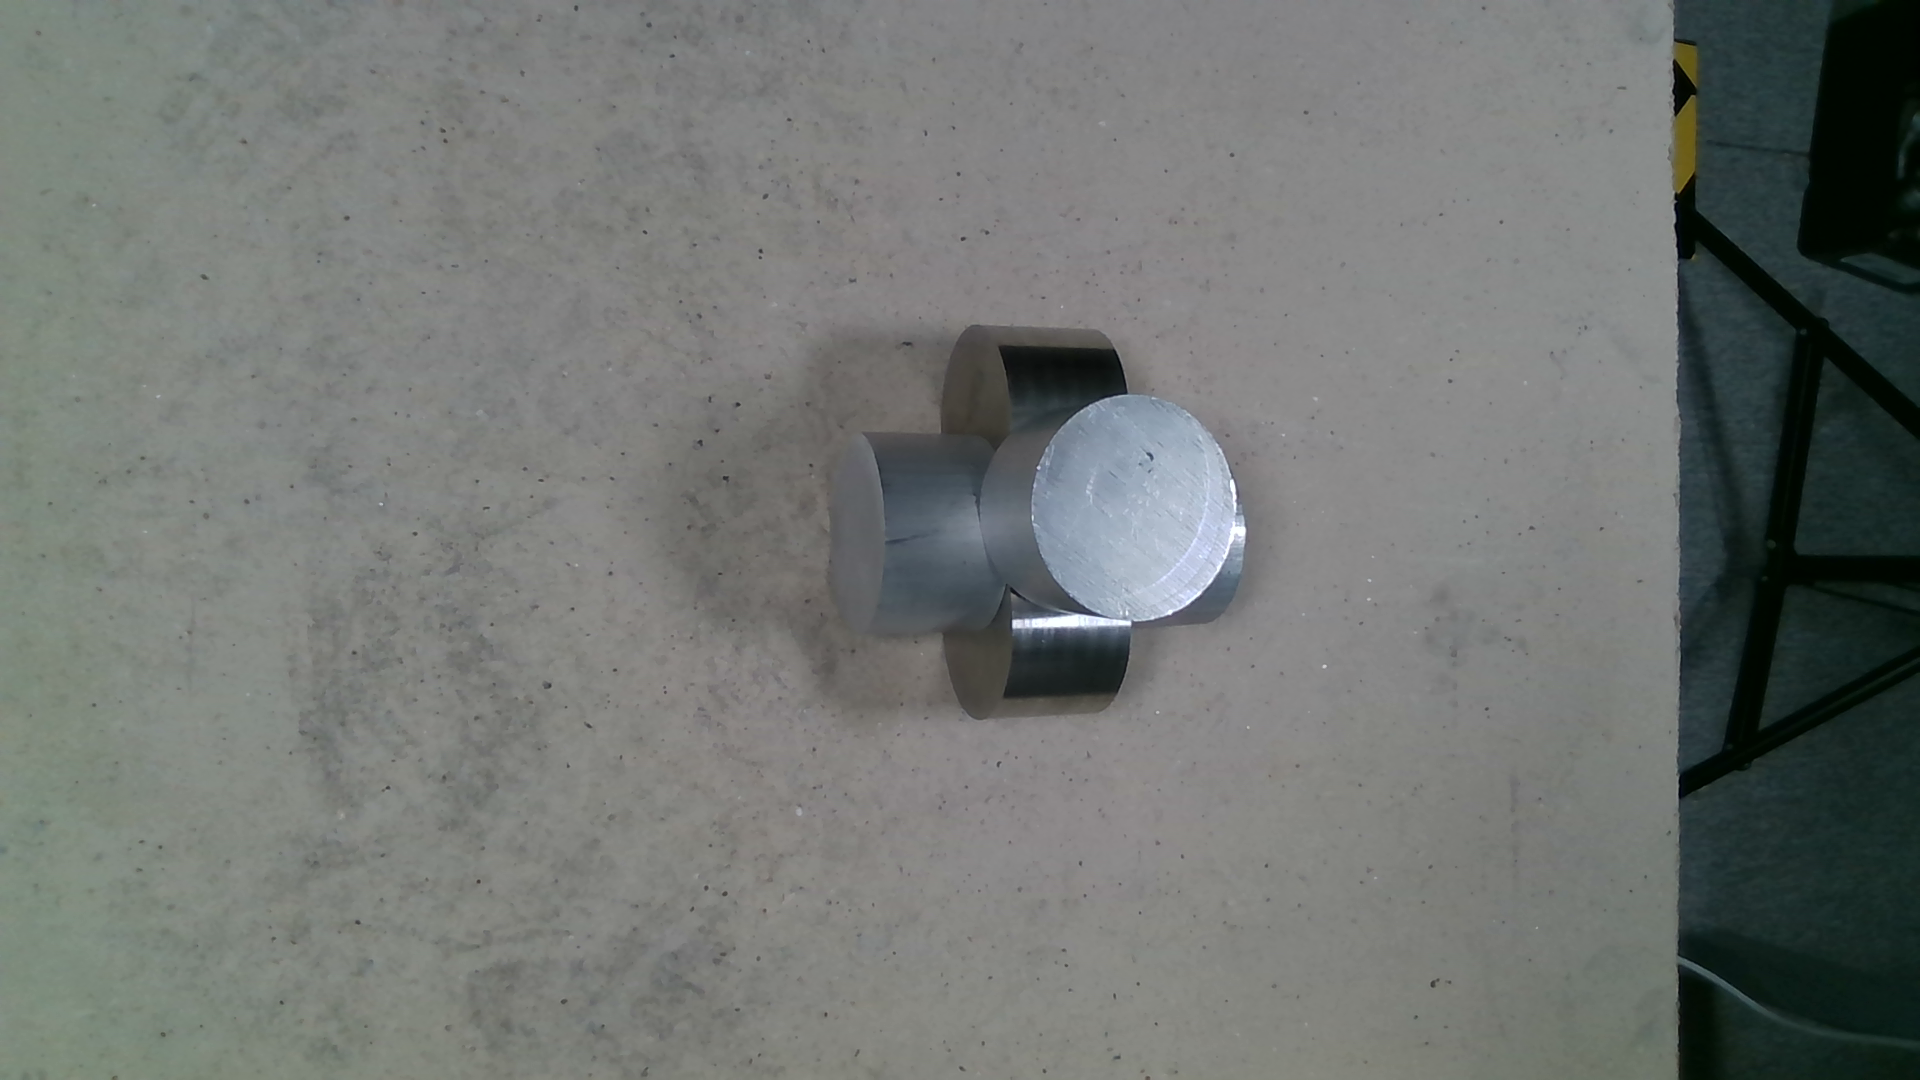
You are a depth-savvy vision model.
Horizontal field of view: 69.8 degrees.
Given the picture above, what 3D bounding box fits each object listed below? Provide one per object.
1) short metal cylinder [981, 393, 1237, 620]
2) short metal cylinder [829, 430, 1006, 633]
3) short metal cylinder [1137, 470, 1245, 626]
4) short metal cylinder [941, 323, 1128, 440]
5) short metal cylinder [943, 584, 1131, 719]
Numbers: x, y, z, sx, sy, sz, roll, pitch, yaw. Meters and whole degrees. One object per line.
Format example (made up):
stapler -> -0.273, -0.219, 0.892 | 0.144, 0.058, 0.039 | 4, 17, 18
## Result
short metal cylinder -> 0.054, -0.012, 0.507 | 0.080, 0.050, 0.080 | 0, 90, -20
short metal cylinder -> -0.018, -0.003, 0.550 | 0.050, 0.080, 0.080 | 0, 90, -20
short metal cylinder -> 0.078, -0.003, 0.586 | 0.050, 0.080, 0.080 | -2, 91, -20
short metal cylinder -> 0.029, -0.048, 0.567 | 0.050, 0.080, 0.080 | -1, 91, -20
short metal cylinder -> 0.030, 0.032, 0.568 | 0.050, 0.080, 0.080 | -1, 90, -20
